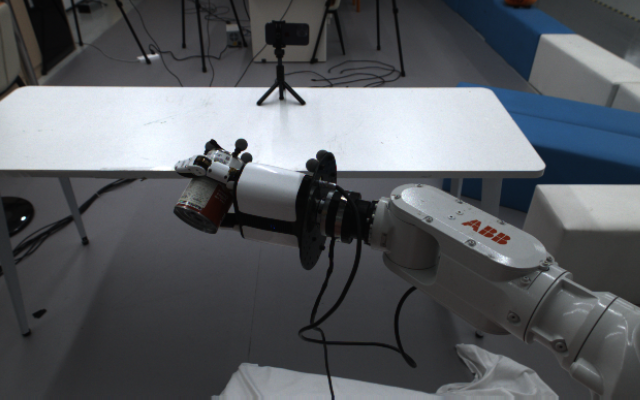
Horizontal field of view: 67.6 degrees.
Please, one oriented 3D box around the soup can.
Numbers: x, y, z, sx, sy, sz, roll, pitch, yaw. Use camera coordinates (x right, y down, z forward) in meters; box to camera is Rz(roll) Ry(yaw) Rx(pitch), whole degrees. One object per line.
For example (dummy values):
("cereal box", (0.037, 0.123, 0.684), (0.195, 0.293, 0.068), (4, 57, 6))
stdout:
("soup can", (-0.152, -0.013, 0.680), (0.067, 0.067, 0.101), (16, 64, 19))
